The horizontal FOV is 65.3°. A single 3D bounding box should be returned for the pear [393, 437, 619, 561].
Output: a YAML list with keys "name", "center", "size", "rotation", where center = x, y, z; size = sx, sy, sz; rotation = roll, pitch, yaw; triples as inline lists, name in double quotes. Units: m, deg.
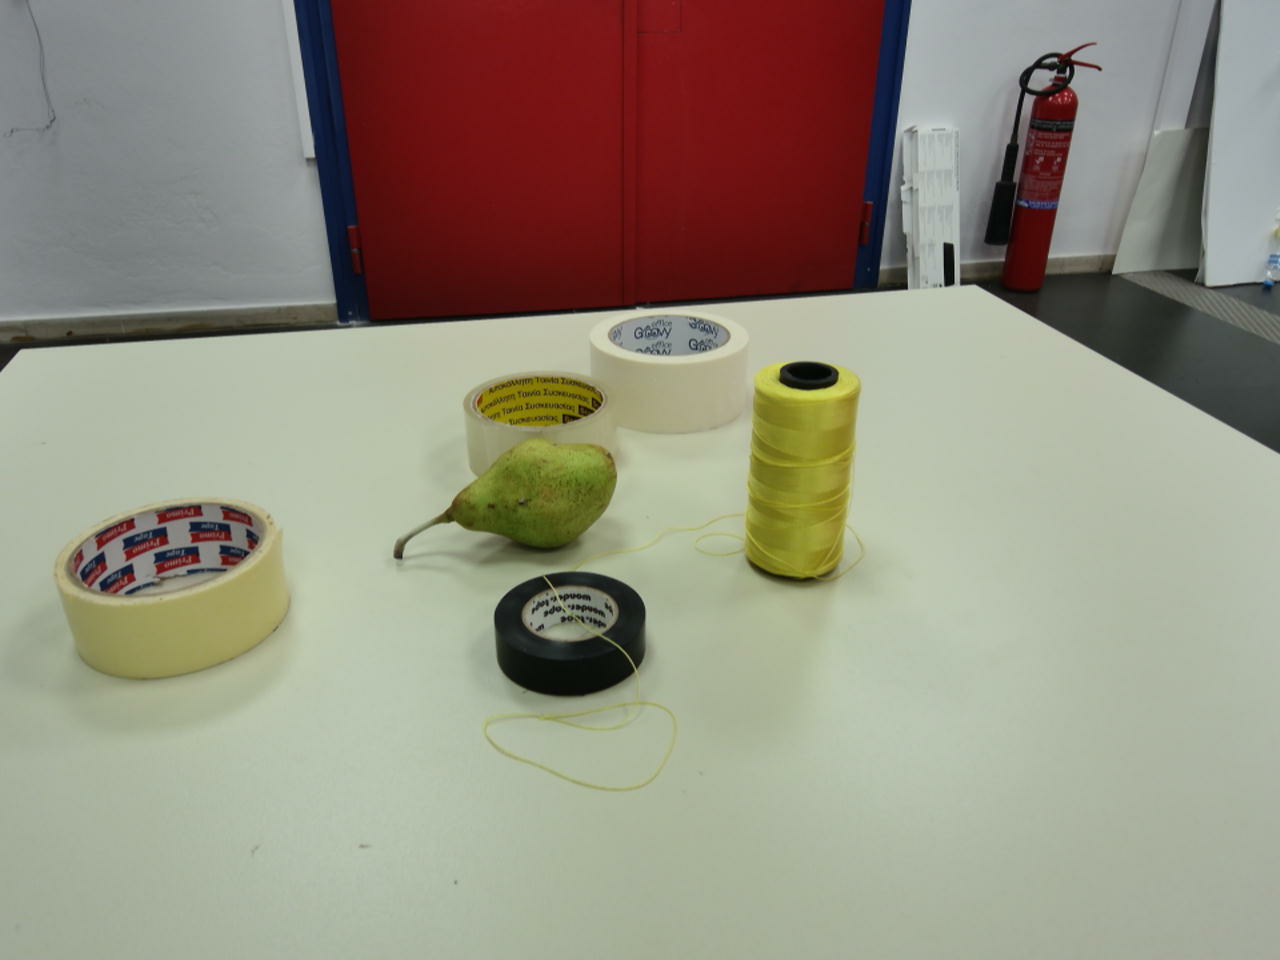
- name: "pear"
  center: [-0.067, 0.006, 0.507]
  size: [0.111, 0.056, 0.056]
  rotation: [1, 26, 2]
